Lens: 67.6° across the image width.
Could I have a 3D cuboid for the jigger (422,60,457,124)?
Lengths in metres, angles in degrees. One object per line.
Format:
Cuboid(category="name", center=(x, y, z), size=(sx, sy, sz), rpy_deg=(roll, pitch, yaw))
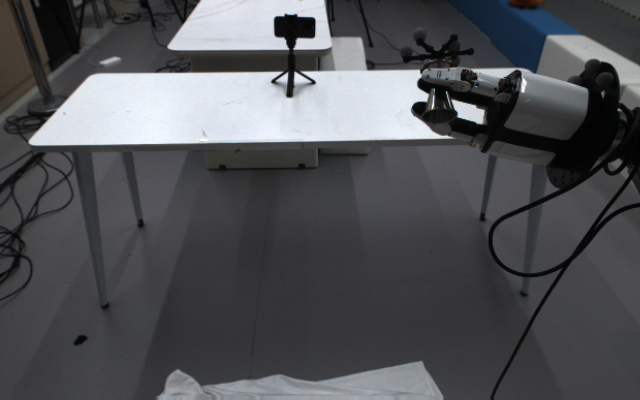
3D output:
Cuboid(category="jigger", center=(0.148, -0.138, 0.608), size=(0.043, 0.043, 0.071), rpy_deg=(3, 76, 1))
